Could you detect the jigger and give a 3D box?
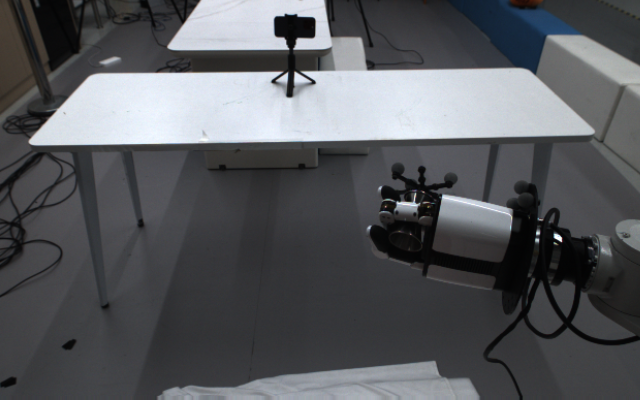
[{"bbox_3d":[0.121,0.025,0.615,0.043,0.043,0.071,13,57,15],"label":"jigger"}]
